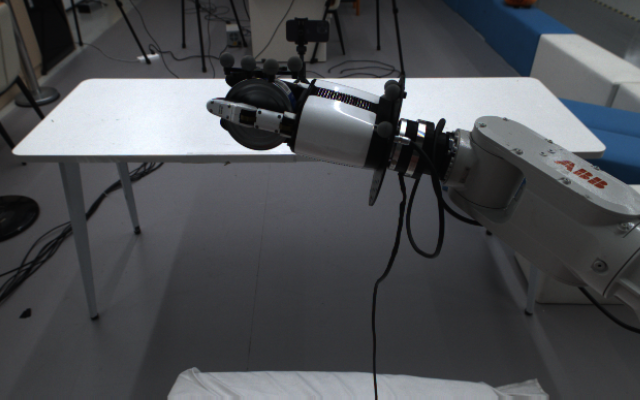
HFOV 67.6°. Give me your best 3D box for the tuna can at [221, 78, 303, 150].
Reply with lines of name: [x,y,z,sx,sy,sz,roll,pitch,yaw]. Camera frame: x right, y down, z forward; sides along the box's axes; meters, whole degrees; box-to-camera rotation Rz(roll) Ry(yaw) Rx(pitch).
tuna can: [-0.070,-0.105,0.581,0.085,0.085,0.034,6,22,6]
